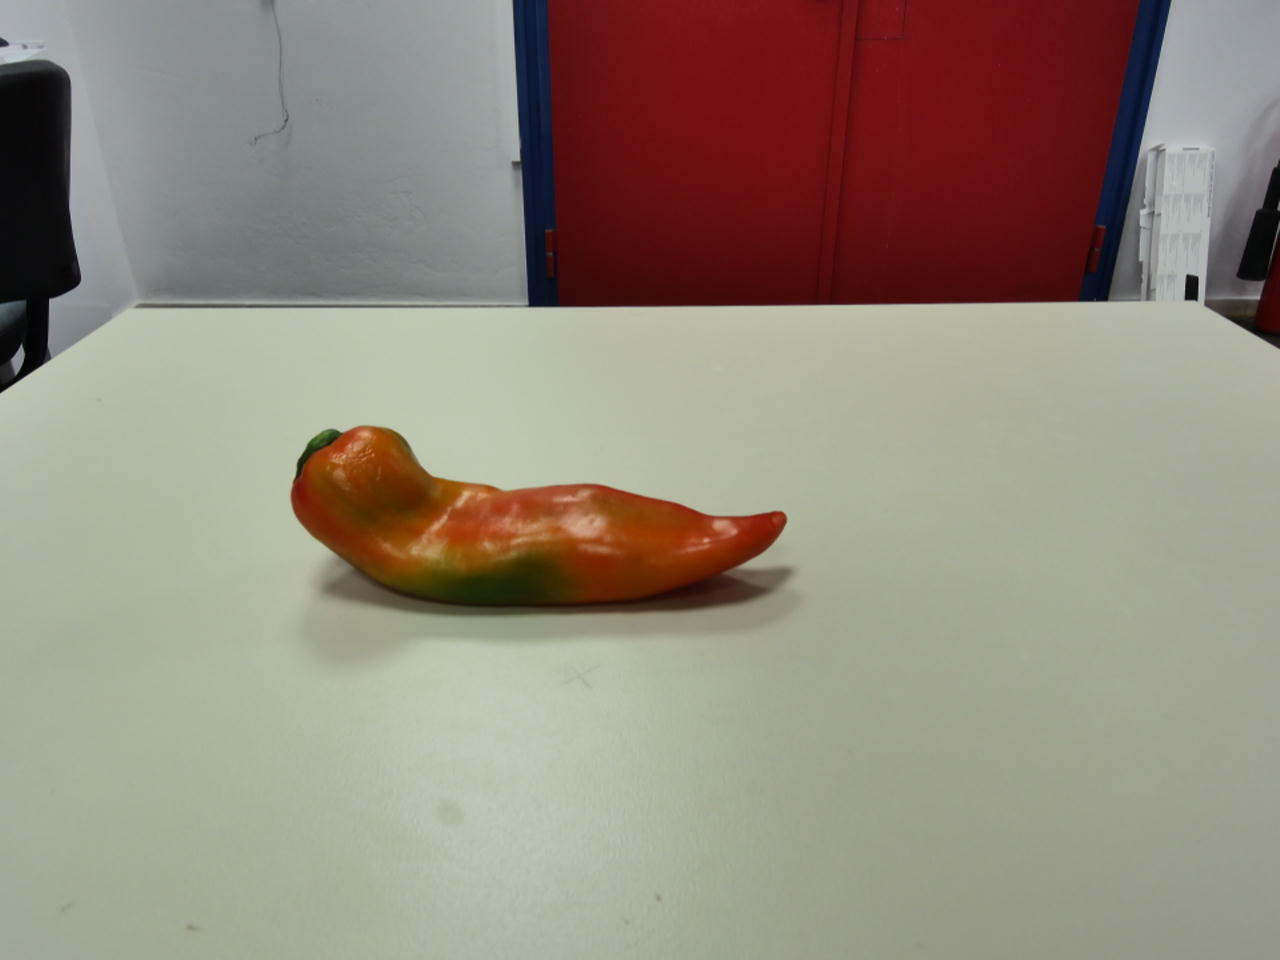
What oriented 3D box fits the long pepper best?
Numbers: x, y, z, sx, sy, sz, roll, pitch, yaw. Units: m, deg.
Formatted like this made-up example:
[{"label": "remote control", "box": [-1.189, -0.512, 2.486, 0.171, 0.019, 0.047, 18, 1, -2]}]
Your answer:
[{"label": "long pepper", "box": [-0.040, 0.012, 0.406, 0.199, 0.065, 0.066, 2, 25, 5]}]
